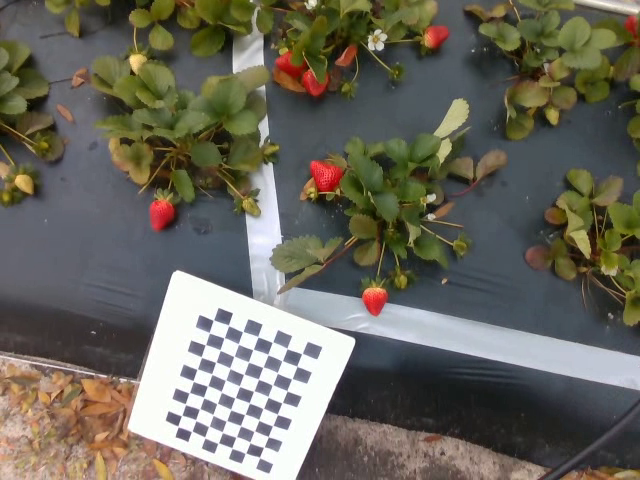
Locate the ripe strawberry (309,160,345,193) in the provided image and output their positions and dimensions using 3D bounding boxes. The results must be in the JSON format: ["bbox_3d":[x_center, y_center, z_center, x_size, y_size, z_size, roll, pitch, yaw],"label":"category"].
[{"bbox_3d":[0.008,-0.094,0.741,0.062,0.043,0.043,42,24,1],"label":"ripe strawberry"}]

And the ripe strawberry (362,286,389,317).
[{"bbox_3d":[0.078,0.082,0.730,0.039,0.047,0.041,-10,9,21],"label":"ripe strawberry"}]

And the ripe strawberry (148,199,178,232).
[{"bbox_3d":[-0.206,-0.033,0.697,0.036,0.046,0.040,11,-26,15],"label":"ripe strawberry"}]
